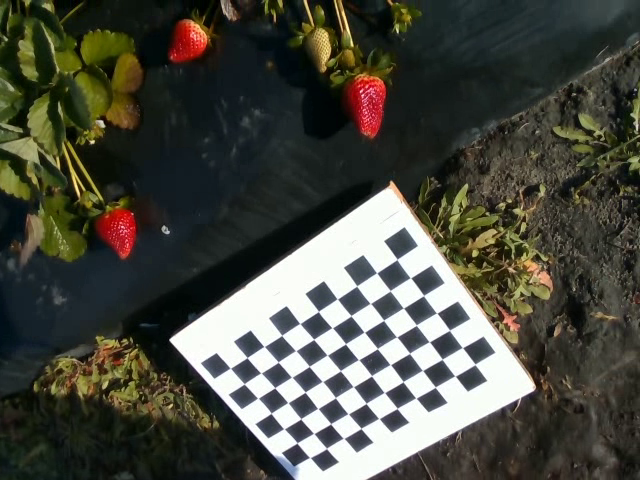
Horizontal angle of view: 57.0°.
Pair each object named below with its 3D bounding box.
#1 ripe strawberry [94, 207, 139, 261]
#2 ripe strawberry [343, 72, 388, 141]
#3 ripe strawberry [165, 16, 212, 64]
[{"bbox_3d":[-0.194,-0.005,0.550,0.045,0.055,0.041,-27,-14,9],"label":"ripe strawberry"},{"bbox_3d":[0.036,-0.105,0.461,0.042,0.059,0.042,-14,8,5],"label":"ripe strawberry"},{"bbox_3d":[-0.118,-0.163,0.478,0.046,0.035,0.036,-37,14,7],"label":"ripe strawberry"}]
